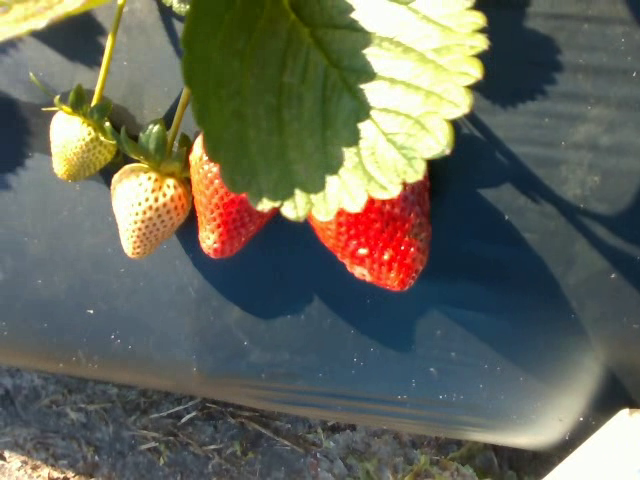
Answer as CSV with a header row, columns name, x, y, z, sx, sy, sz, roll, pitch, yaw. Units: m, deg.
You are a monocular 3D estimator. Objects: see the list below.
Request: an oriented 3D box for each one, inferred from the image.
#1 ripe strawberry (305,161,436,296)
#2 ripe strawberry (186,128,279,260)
name,x,y,z,sx,sy,sz,roll,pitch,yaw
ripe strawberry,0.021,-0.008,0.220,0.056,0.067,0.051,-29,-14,40
ripe strawberry,-0.031,-0.018,0.227,0.050,0.061,0.043,20,7,-19
